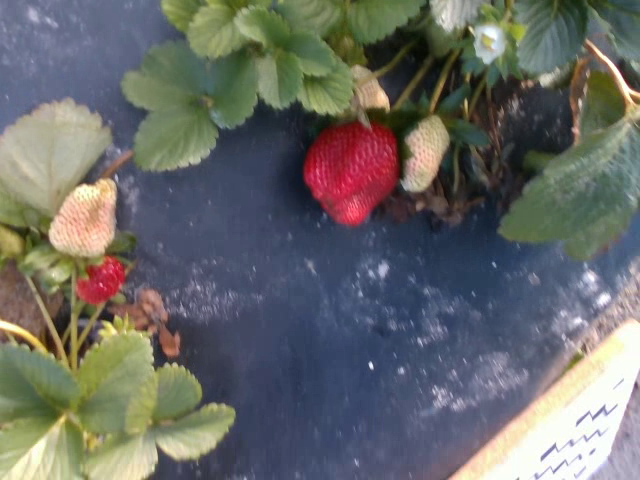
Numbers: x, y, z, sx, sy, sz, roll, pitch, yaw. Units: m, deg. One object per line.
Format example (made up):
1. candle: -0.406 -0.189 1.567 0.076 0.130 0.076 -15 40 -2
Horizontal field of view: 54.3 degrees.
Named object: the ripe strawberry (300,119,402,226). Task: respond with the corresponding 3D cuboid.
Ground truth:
1. ripe strawberry: 0.016 -0.036 0.343 0.057 0.058 0.071 18 46 24
